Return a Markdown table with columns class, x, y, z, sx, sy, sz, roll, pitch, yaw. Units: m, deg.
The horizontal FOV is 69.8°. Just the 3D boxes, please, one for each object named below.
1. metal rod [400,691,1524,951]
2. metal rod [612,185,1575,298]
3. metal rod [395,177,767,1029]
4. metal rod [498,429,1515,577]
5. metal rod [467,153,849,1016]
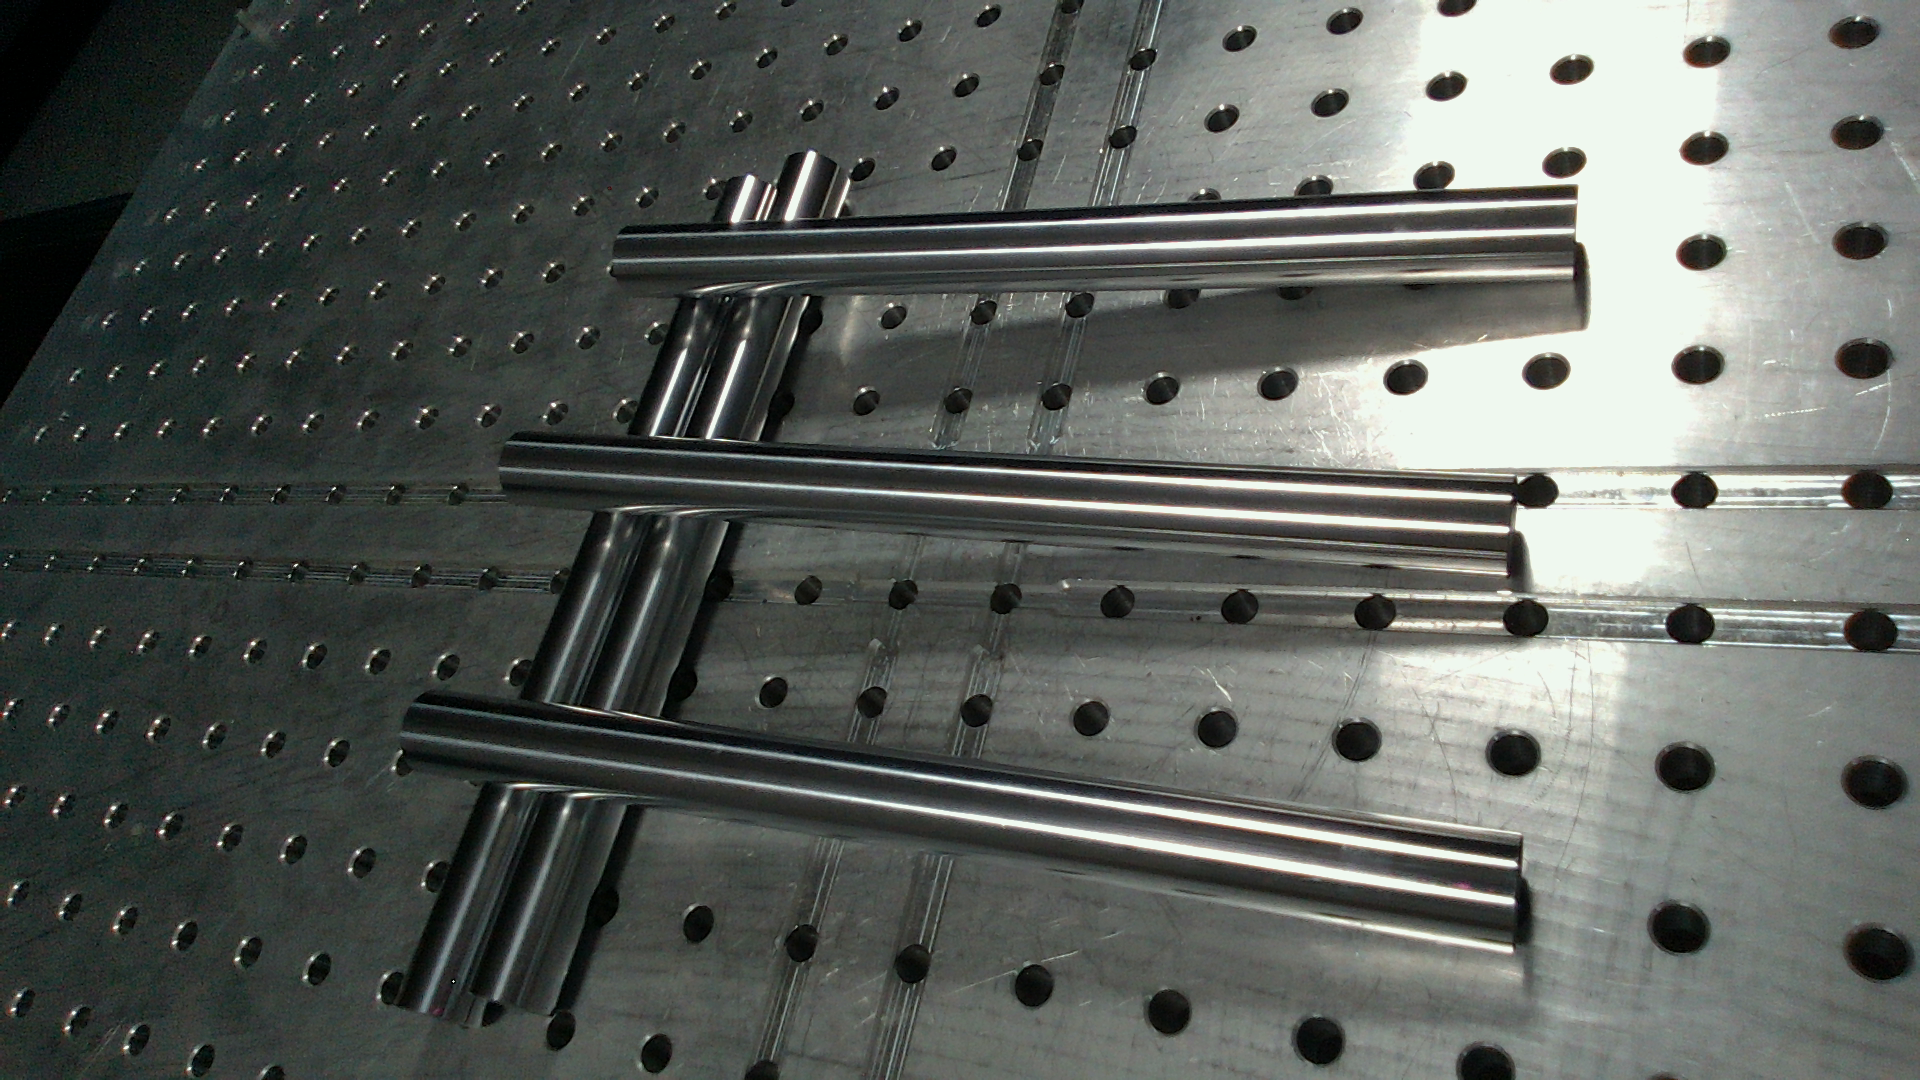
| class | x | y | z | sx | sy | sz | roll | pitch | yaw |
| --- | --- | --- | --- | --- | --- | --- | --- | --- | --- |
| metal rod | -0.019 | 0.065 | 0.348 | 0.299 | 0.025 | 0.025 | 4 | 63 | 23 |
| metal rod | 0.024 | -0.089 | 0.420 | 0.299 | 0.025 | 0.025 | 3 | 63 | 23 |
| metal rod | -0.113 | 0.004 | 0.455 | 0.025 | 0.025 | 0.300 | 1 | 62 | 29 |
| metal rod | -0.005 | -0.014 | 0.388 | 0.299 | 0.025 | 0.025 | 4 | 64 | 24 |
| metal rod | -0.089 | -0.002 | 0.446 | 0.025 | 0.025 | 0.300 | 1 | 62 | 29 |
